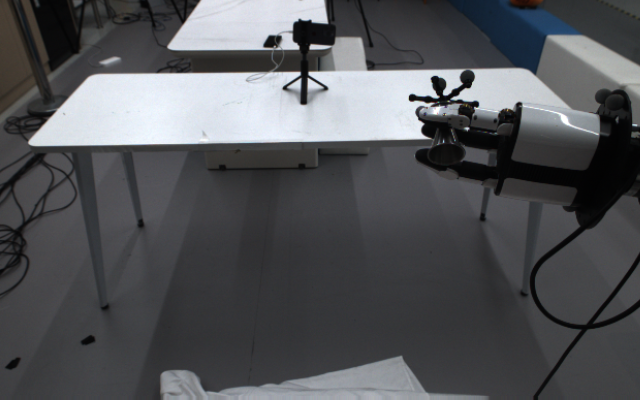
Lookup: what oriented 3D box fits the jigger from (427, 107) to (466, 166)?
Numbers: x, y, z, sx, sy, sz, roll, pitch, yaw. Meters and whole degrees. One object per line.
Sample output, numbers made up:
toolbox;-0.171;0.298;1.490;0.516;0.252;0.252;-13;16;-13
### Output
jigger;0.152;-0.083;0.595;0.043;0.043;0.071;4;61;3
